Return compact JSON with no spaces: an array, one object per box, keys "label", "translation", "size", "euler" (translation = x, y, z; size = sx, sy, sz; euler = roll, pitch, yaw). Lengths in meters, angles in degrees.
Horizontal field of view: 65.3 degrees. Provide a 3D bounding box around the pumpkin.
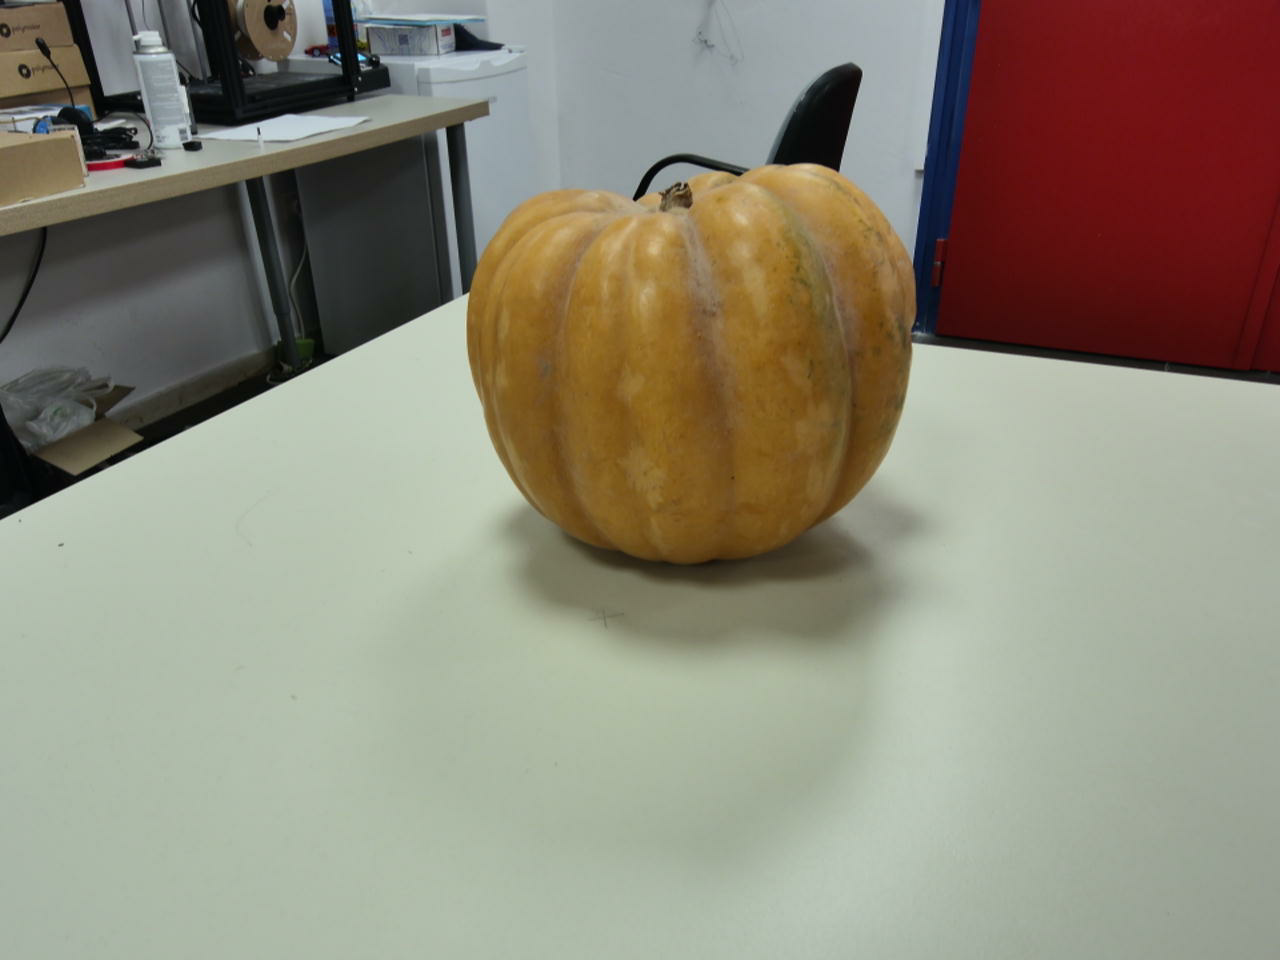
[{"label":"pumpkin","translation":[0.027,-0.062,0.513],"size":[0.230,0.194,0.230],"euler":[0,25,0]}]
